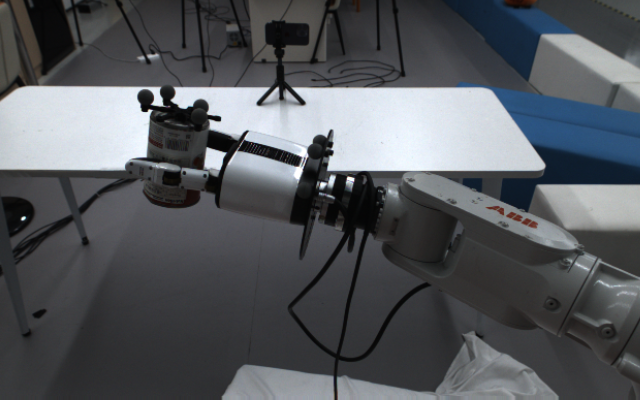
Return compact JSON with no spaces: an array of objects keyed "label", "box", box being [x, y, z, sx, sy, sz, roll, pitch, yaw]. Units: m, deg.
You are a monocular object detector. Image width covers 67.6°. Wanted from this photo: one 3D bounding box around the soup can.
[{"label":"soup can","box":[-0.169,-0.049,0.573,0.067,0.101,0.067,12,24,-6]}]
